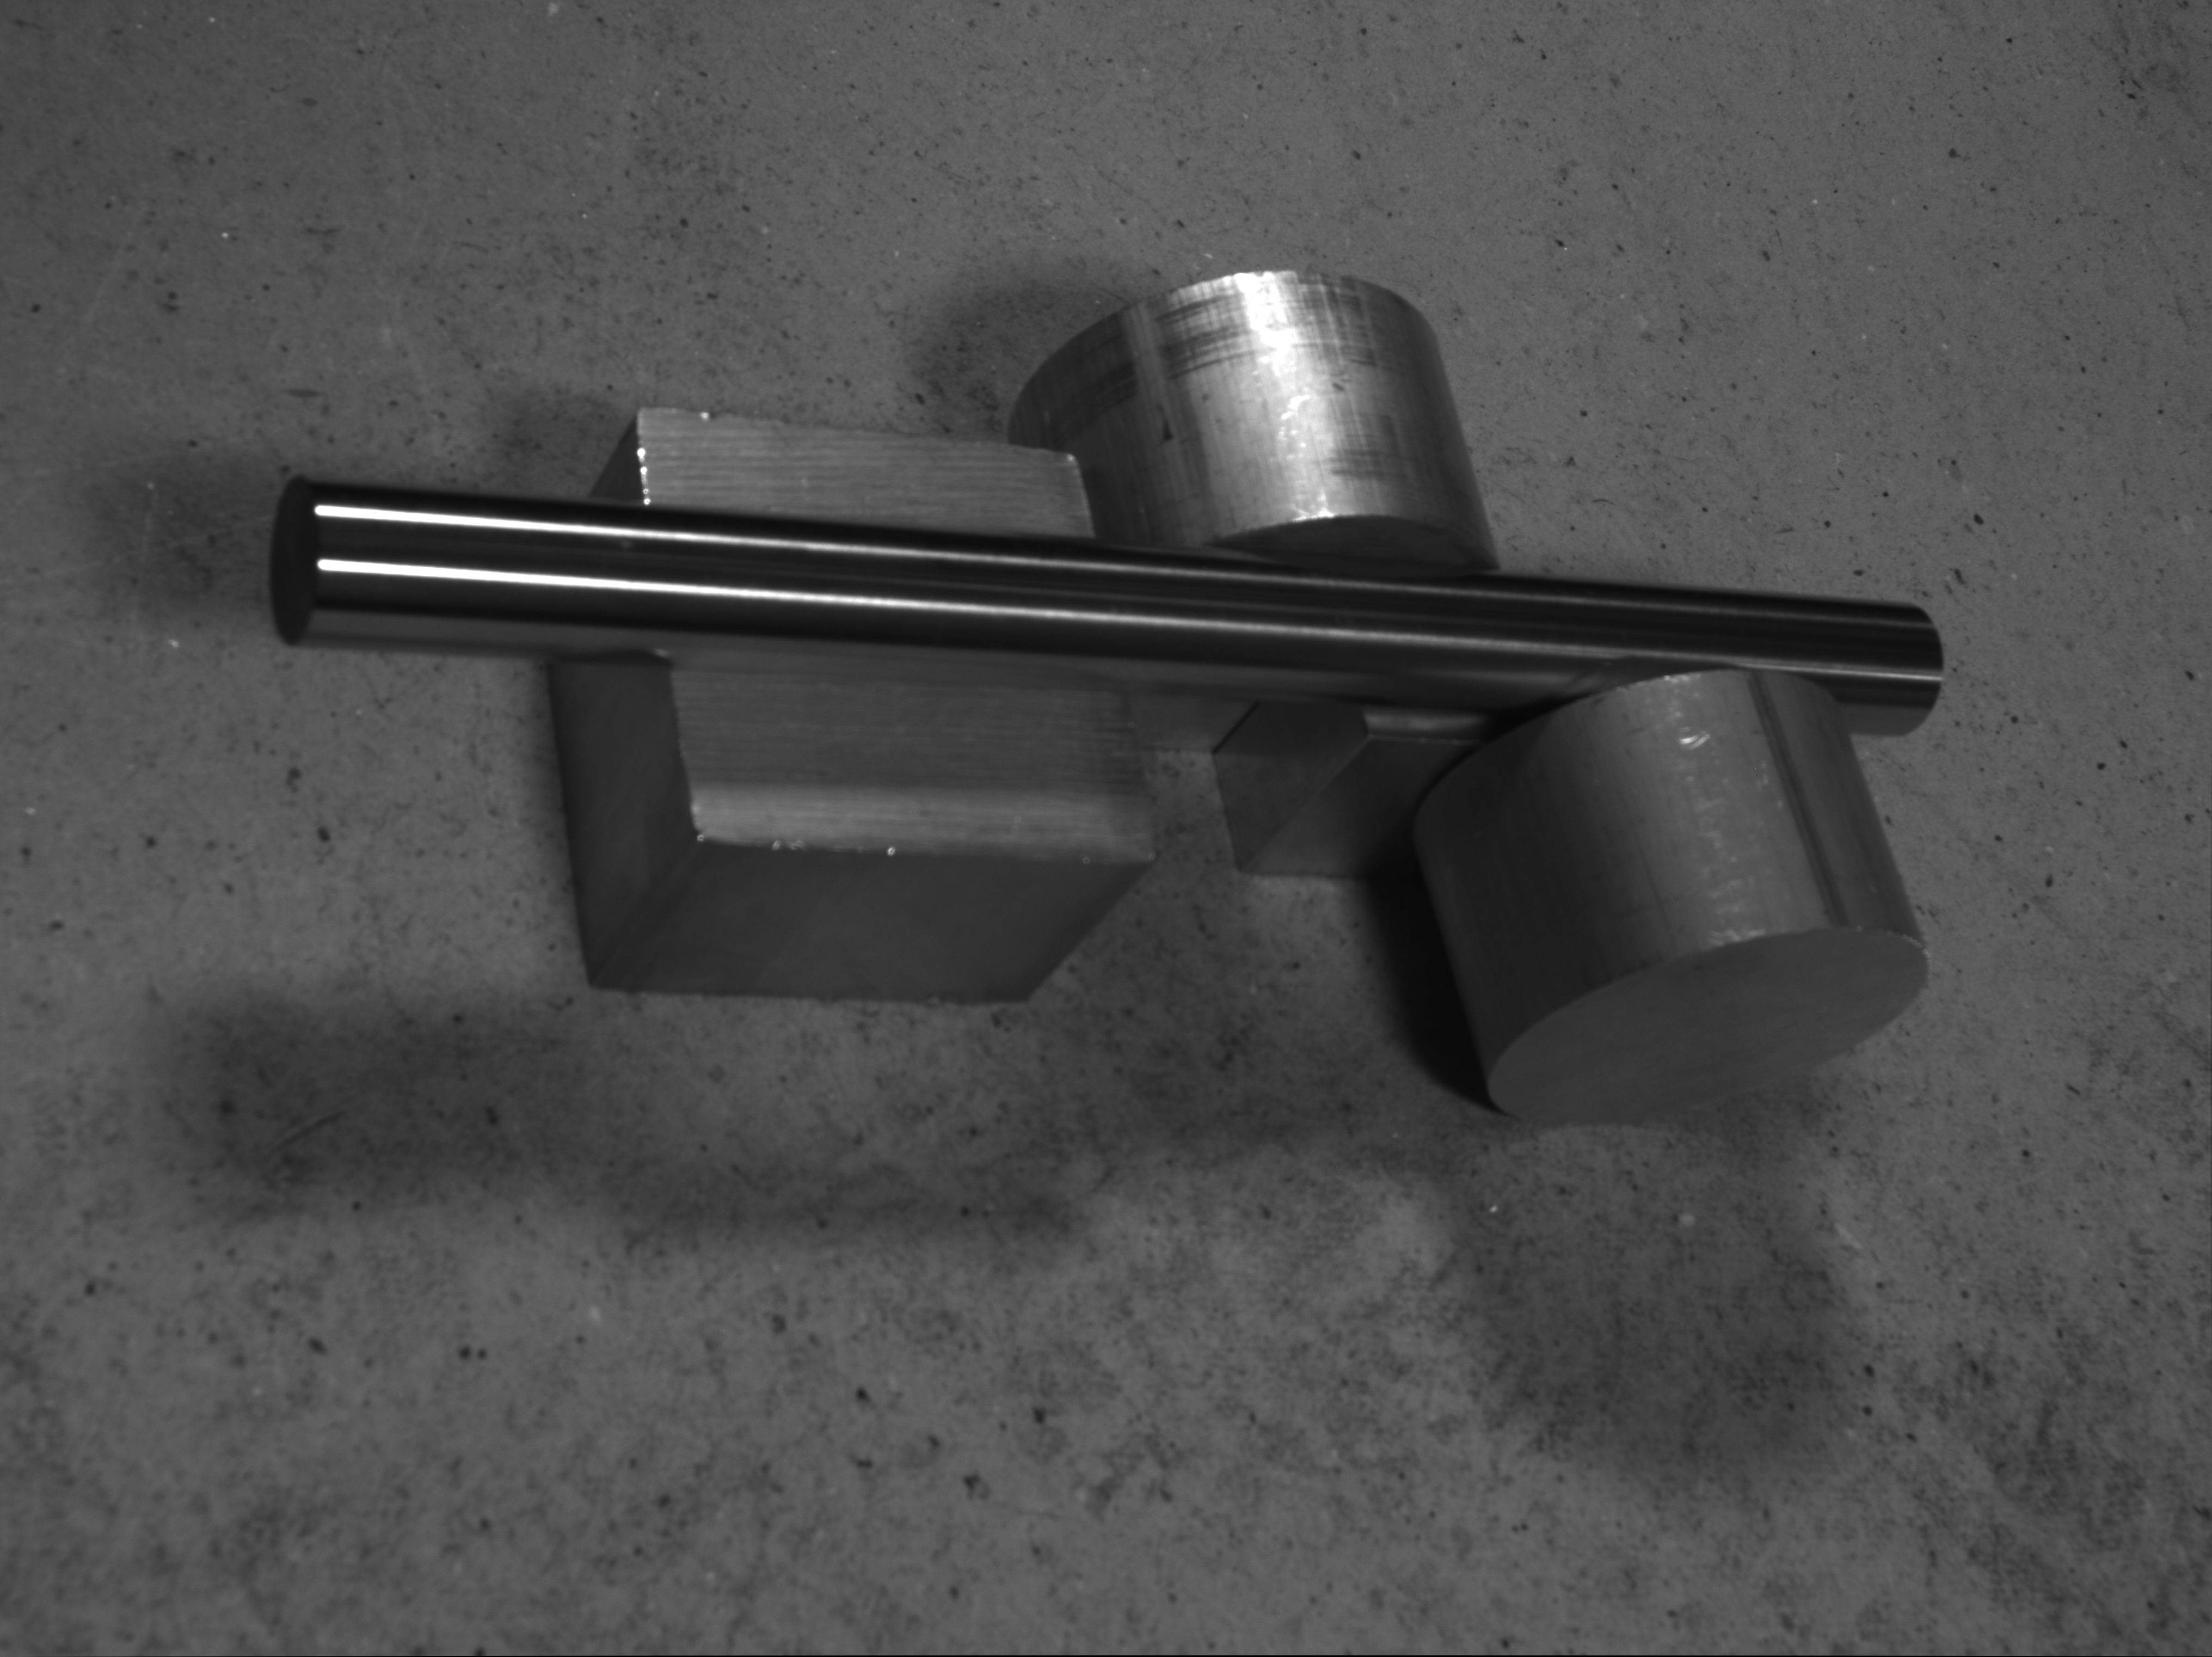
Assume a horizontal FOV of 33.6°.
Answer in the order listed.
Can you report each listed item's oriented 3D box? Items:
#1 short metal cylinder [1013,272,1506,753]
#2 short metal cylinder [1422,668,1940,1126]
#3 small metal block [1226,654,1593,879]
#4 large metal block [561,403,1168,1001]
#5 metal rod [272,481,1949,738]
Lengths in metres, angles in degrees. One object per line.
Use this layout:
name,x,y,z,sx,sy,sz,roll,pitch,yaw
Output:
short metal cylinder,0.027,-0.055,0.654,0.080,0.080,0.050,2,61,-27
short metal cylinder,0.101,0.013,0.650,0.080,0.080,0.050,0,62,-28
small metal block,0.057,-0.014,0.661,0.050,0.050,0.025,1,61,-27
large metal block,-0.043,-0.019,0.609,0.080,0.050,0.080,3,60,-27
metal rod,0.015,-0.033,0.603,0.301,0.025,0.025,2,61,-28
